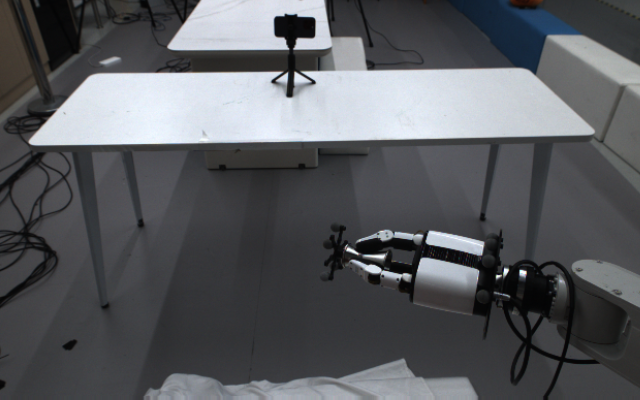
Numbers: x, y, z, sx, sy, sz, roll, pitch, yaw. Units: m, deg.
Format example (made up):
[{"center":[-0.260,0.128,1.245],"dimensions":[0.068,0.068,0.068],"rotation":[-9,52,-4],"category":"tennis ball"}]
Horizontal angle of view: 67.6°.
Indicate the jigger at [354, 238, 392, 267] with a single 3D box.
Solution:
[{"center":[0.079,0.089,0.749],"dimensions":[0.071,0.043,0.043],"rotation":[10,35,22],"category":"jigger"}]
